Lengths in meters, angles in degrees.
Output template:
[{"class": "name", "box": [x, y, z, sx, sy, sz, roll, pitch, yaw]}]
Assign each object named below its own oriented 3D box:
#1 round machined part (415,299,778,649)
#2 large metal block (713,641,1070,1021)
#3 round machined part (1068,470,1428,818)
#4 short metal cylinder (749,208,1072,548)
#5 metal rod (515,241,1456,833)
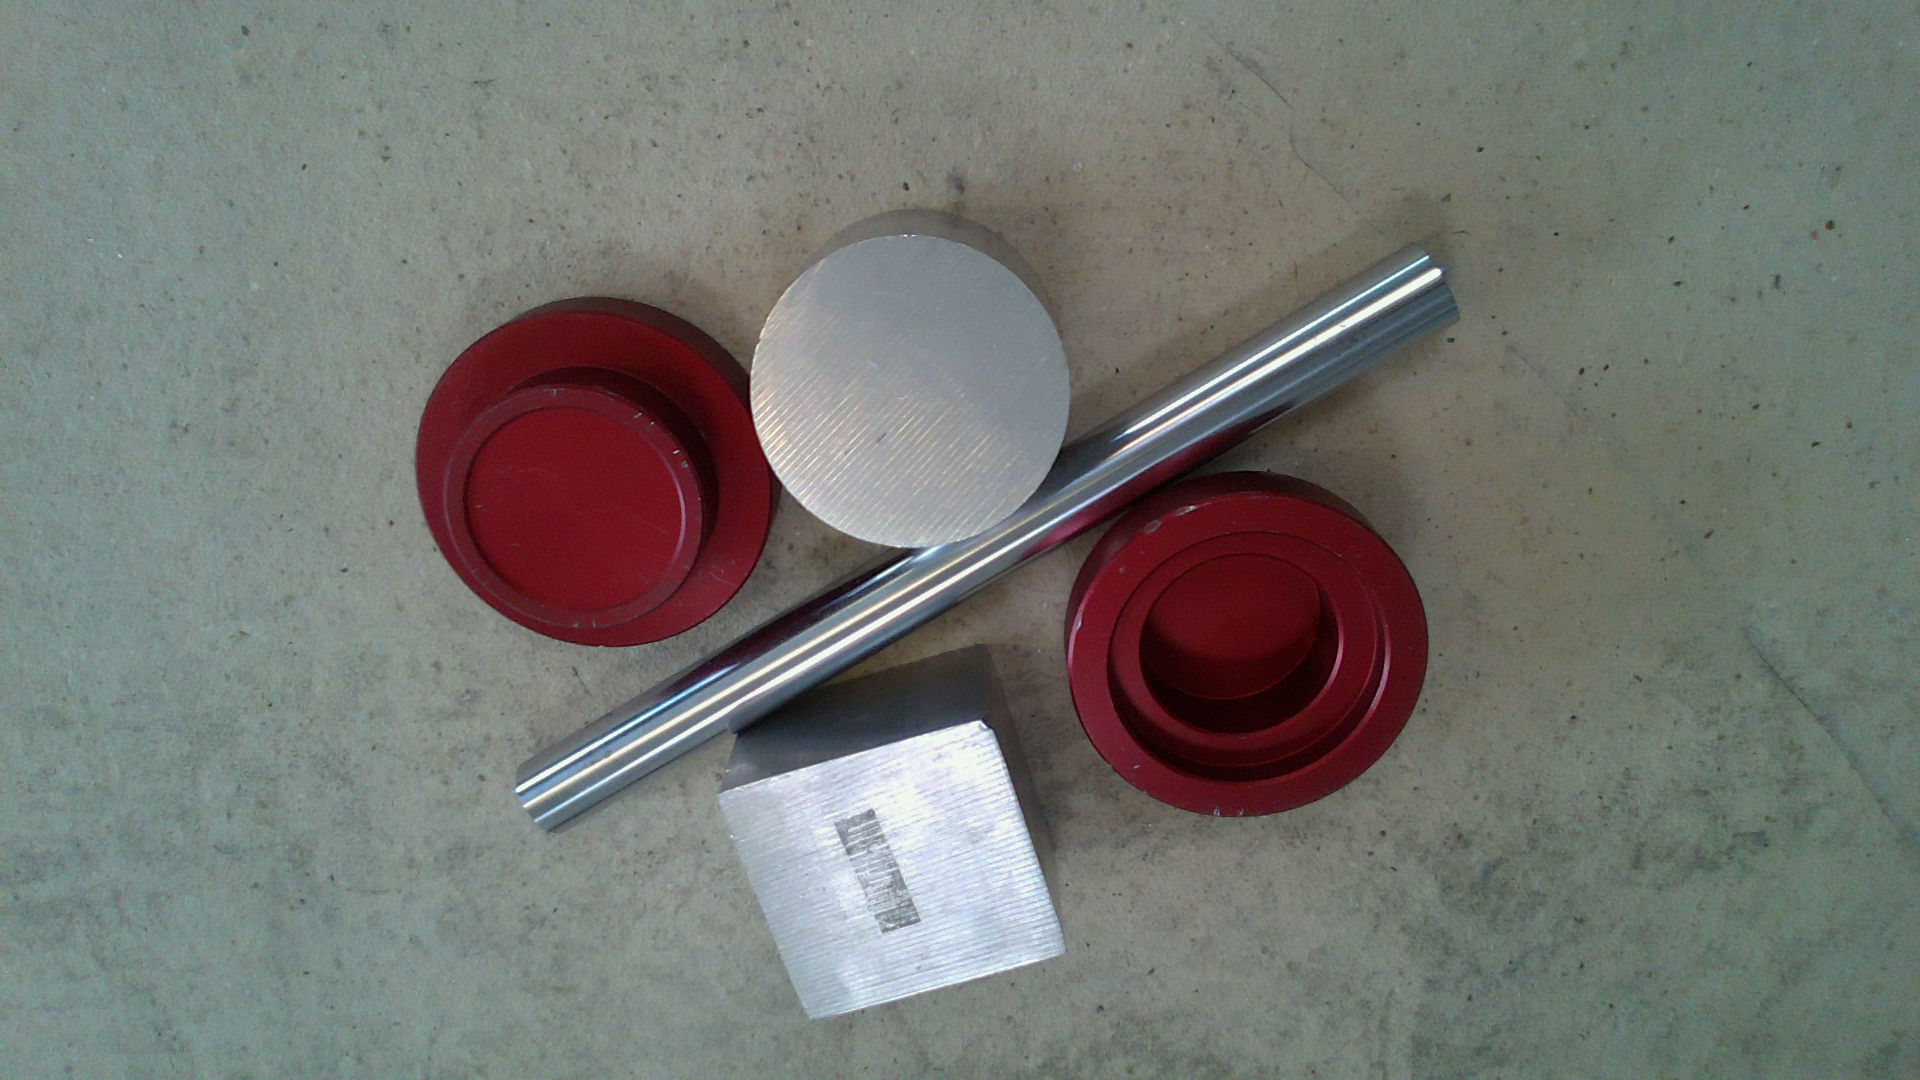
[{"class": "round machined part", "box": [-0.101, -0.014, 0.379, 0.098, 0.042, 0.098, 0, 110, 0]}, {"class": "large metal block", "box": [-0.018, 0.087, 0.413, 0.080, 0.050, 0.080, -16, 109, 6]}, {"class": "round machined part", "box": [0.079, 0.027, 0.395, 0.098, 0.042, 0.098, 0, 110, 0]}, {"class": "short metal cylinder", "box": [-0.012, -0.044, 0.364, 0.080, 0.050, 0.080, 0, 110, 0]}, {"class": "metal rod", "box": [-0.001, 0.004, 0.397, 0.300, 0.025, 0.025, -30, 107, 10]}]
